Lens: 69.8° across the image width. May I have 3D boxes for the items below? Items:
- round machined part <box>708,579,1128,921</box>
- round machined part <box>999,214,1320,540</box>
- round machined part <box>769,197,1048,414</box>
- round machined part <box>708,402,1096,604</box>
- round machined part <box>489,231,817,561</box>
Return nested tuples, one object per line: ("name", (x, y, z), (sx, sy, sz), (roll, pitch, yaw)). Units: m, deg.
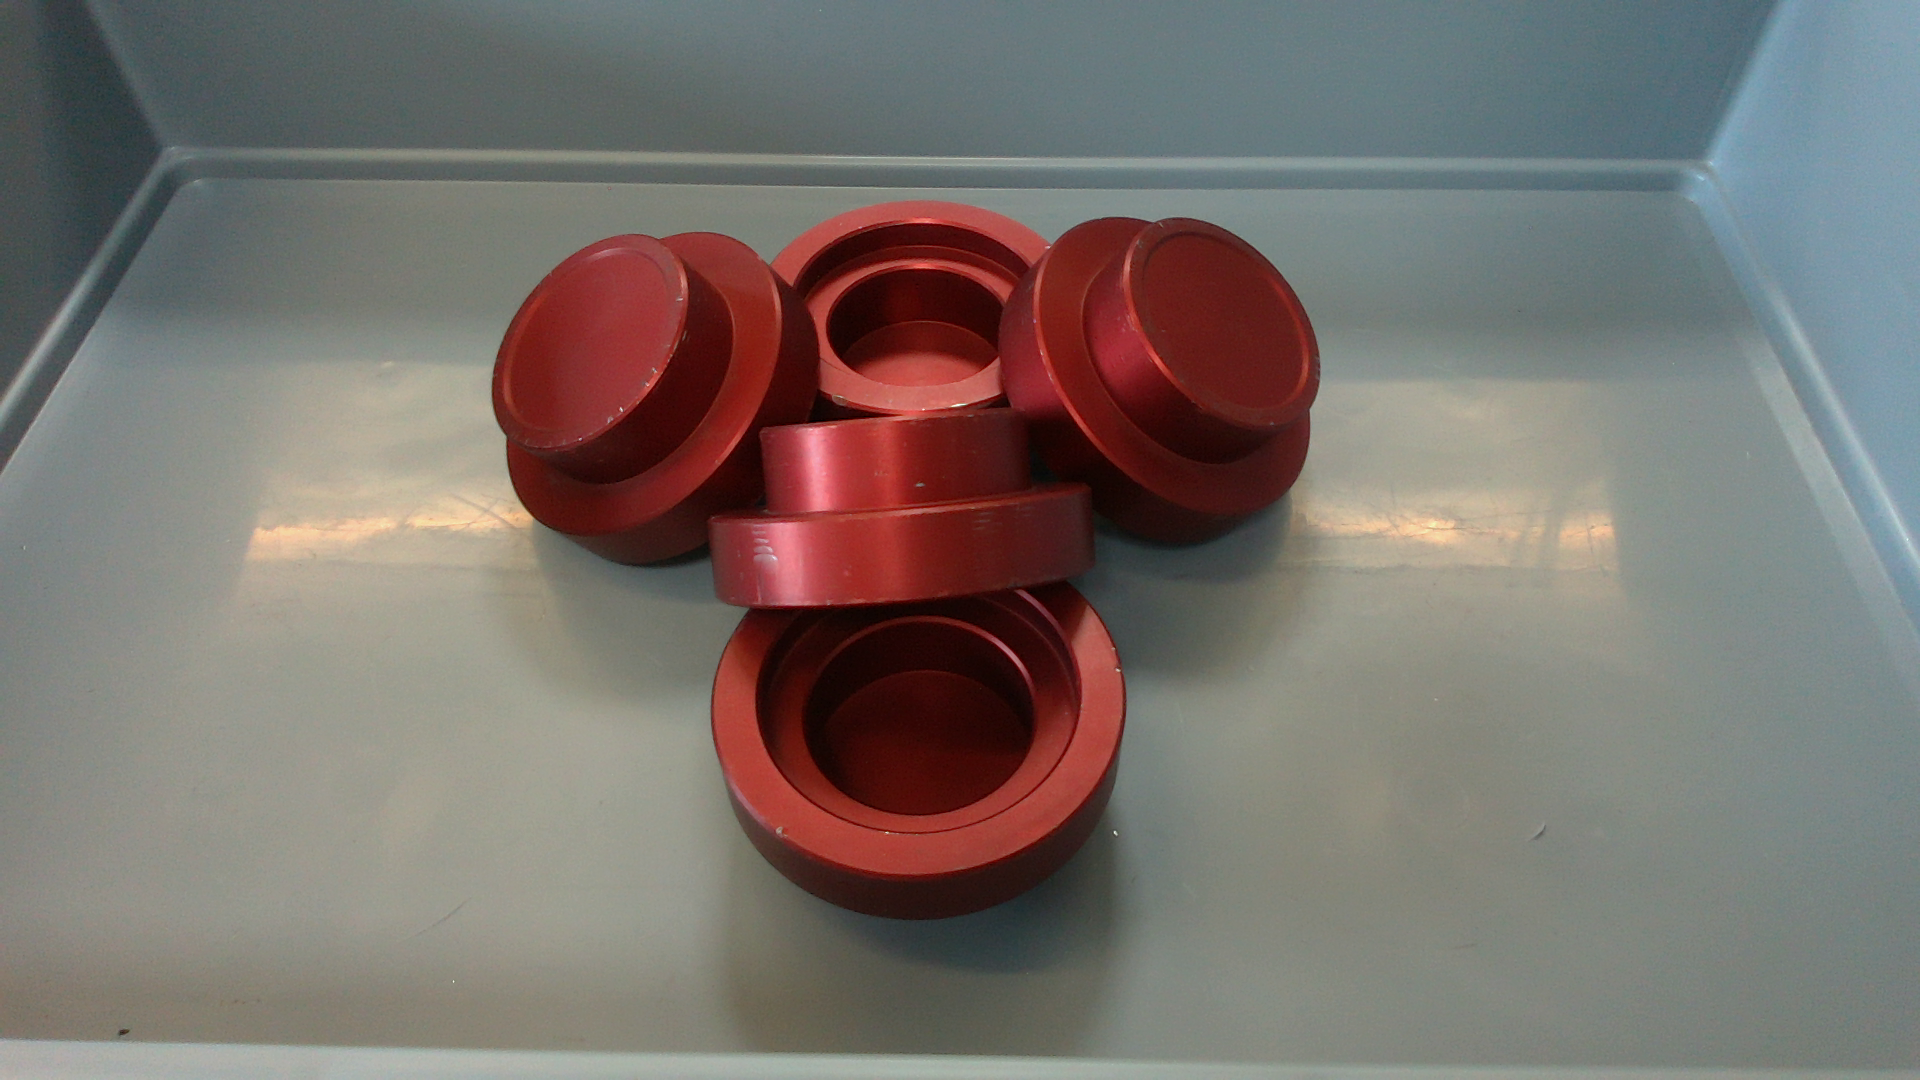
("round machined part", (-0.010, 0.048, 0.338), (0.098, 0.042, 0.098), (0, 50, 0))
("round machined part", (0.063, -0.053, 0.394), (0.098, 0.042, 0.098), (15, 58, -26))
("round machined part", (-0.013, -0.060, 0.428), (0.098, 0.042, 0.098), (0, 50, 0))
("round machined part", (-0.016, -0.011, 0.351), (0.098, 0.098, 0.042), (-5, 94, -4))
("round machined part", (-0.093, -0.047, 0.390), (0.098, 0.042, 0.098), (-13, 60, 24))
